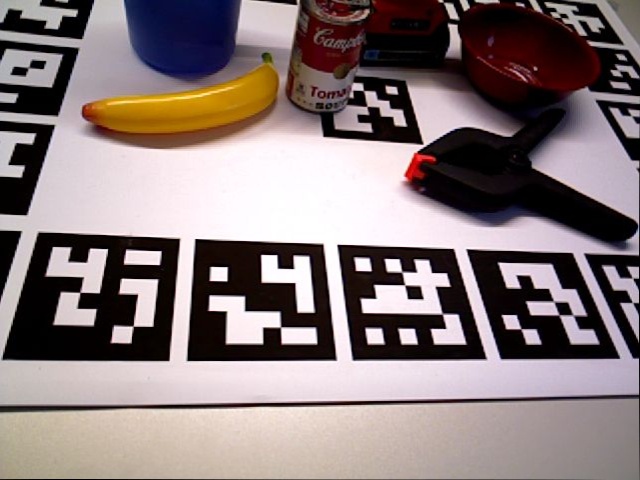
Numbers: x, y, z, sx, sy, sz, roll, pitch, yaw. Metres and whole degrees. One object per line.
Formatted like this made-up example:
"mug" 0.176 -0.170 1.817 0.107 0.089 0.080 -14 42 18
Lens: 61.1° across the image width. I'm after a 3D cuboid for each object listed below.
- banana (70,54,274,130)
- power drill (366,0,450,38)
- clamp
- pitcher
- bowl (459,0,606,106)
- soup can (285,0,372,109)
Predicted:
"banana" -0.115 -0.128 0.480 0.193 0.040 0.074 -20 52 -27
"power drill" 0.121 -0.297 0.534 0.182 0.191 0.057 -2 54 -15
"clamp" 0.177 -0.070 0.490 0.200 0.037 0.163 -1 58 -13
"pitcher" -0.105 -0.281 0.461 0.185 0.248 0.132 -20 57 -25
"bowl" 0.218 -0.197 0.589 0.160 0.056 0.159 5 55 -8
"soup can" 0.006 -0.185 0.506 0.067 0.104 0.067 6 44 -7
